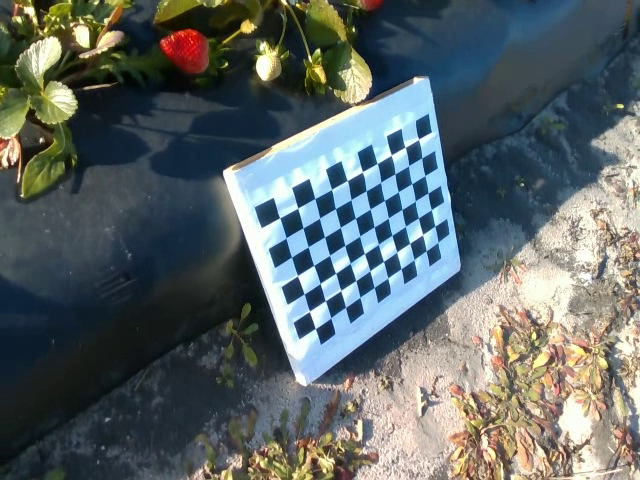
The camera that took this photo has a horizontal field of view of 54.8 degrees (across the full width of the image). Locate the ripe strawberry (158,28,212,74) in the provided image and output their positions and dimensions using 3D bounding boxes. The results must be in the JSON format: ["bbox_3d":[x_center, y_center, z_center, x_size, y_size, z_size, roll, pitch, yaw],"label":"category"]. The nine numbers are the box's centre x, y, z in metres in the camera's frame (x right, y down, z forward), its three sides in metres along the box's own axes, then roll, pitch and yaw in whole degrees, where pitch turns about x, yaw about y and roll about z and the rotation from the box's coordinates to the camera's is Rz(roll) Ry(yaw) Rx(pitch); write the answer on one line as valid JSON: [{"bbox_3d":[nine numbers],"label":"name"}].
[{"bbox_3d":[-0.113,-0.157,0.502,0.036,0.044,0.053,17,14,42],"label":"ripe strawberry"}]
